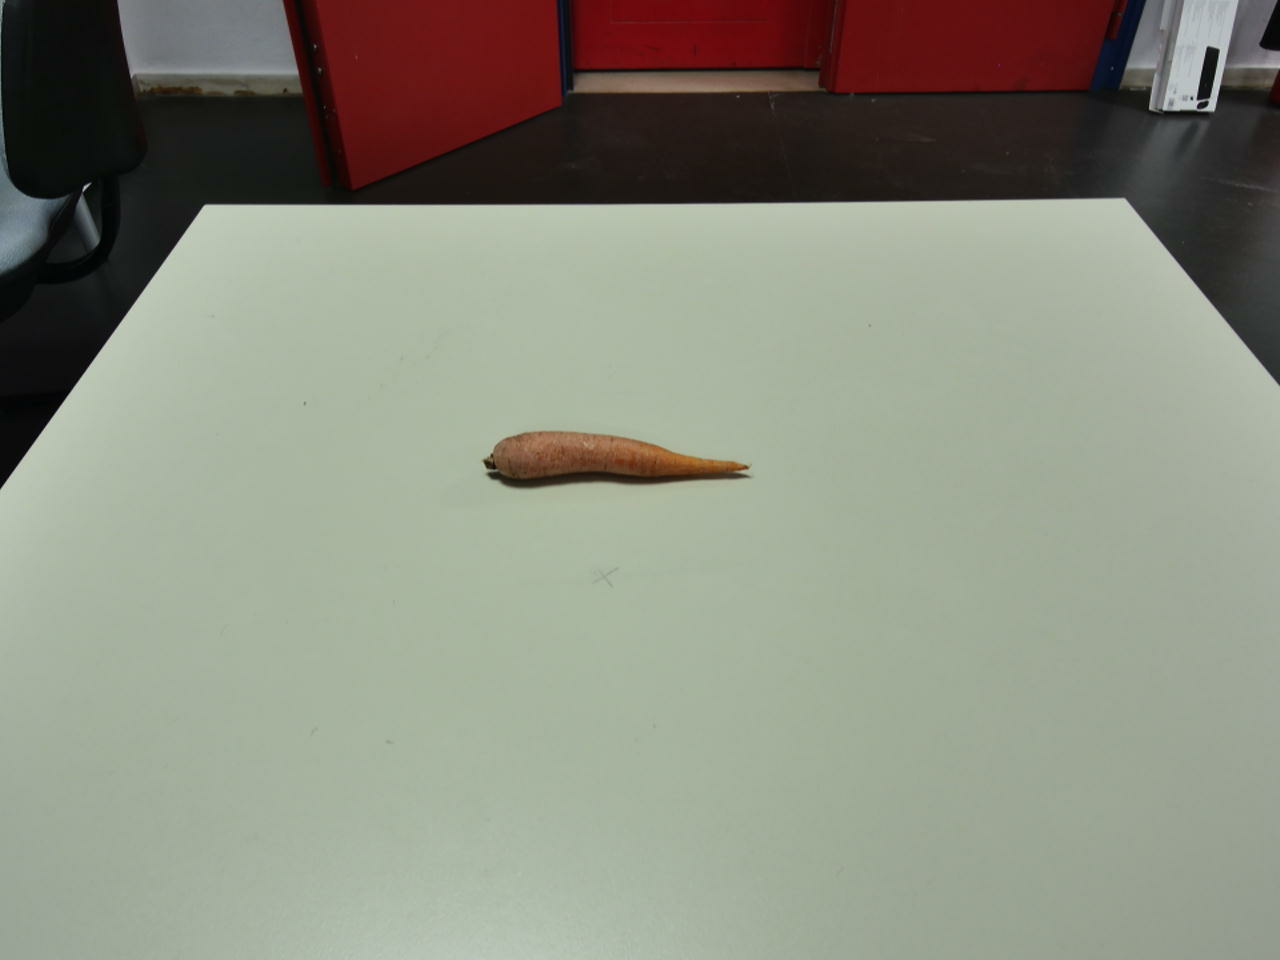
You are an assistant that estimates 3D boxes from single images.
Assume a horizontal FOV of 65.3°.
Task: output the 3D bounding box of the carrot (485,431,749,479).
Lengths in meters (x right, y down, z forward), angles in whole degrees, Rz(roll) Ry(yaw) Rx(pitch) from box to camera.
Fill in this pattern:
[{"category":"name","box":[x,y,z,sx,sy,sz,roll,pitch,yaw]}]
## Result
[{"category":"carrot","box":[-0.014,-0.015,0.619,0.163,0.029,0.031,0,39,0]}]
